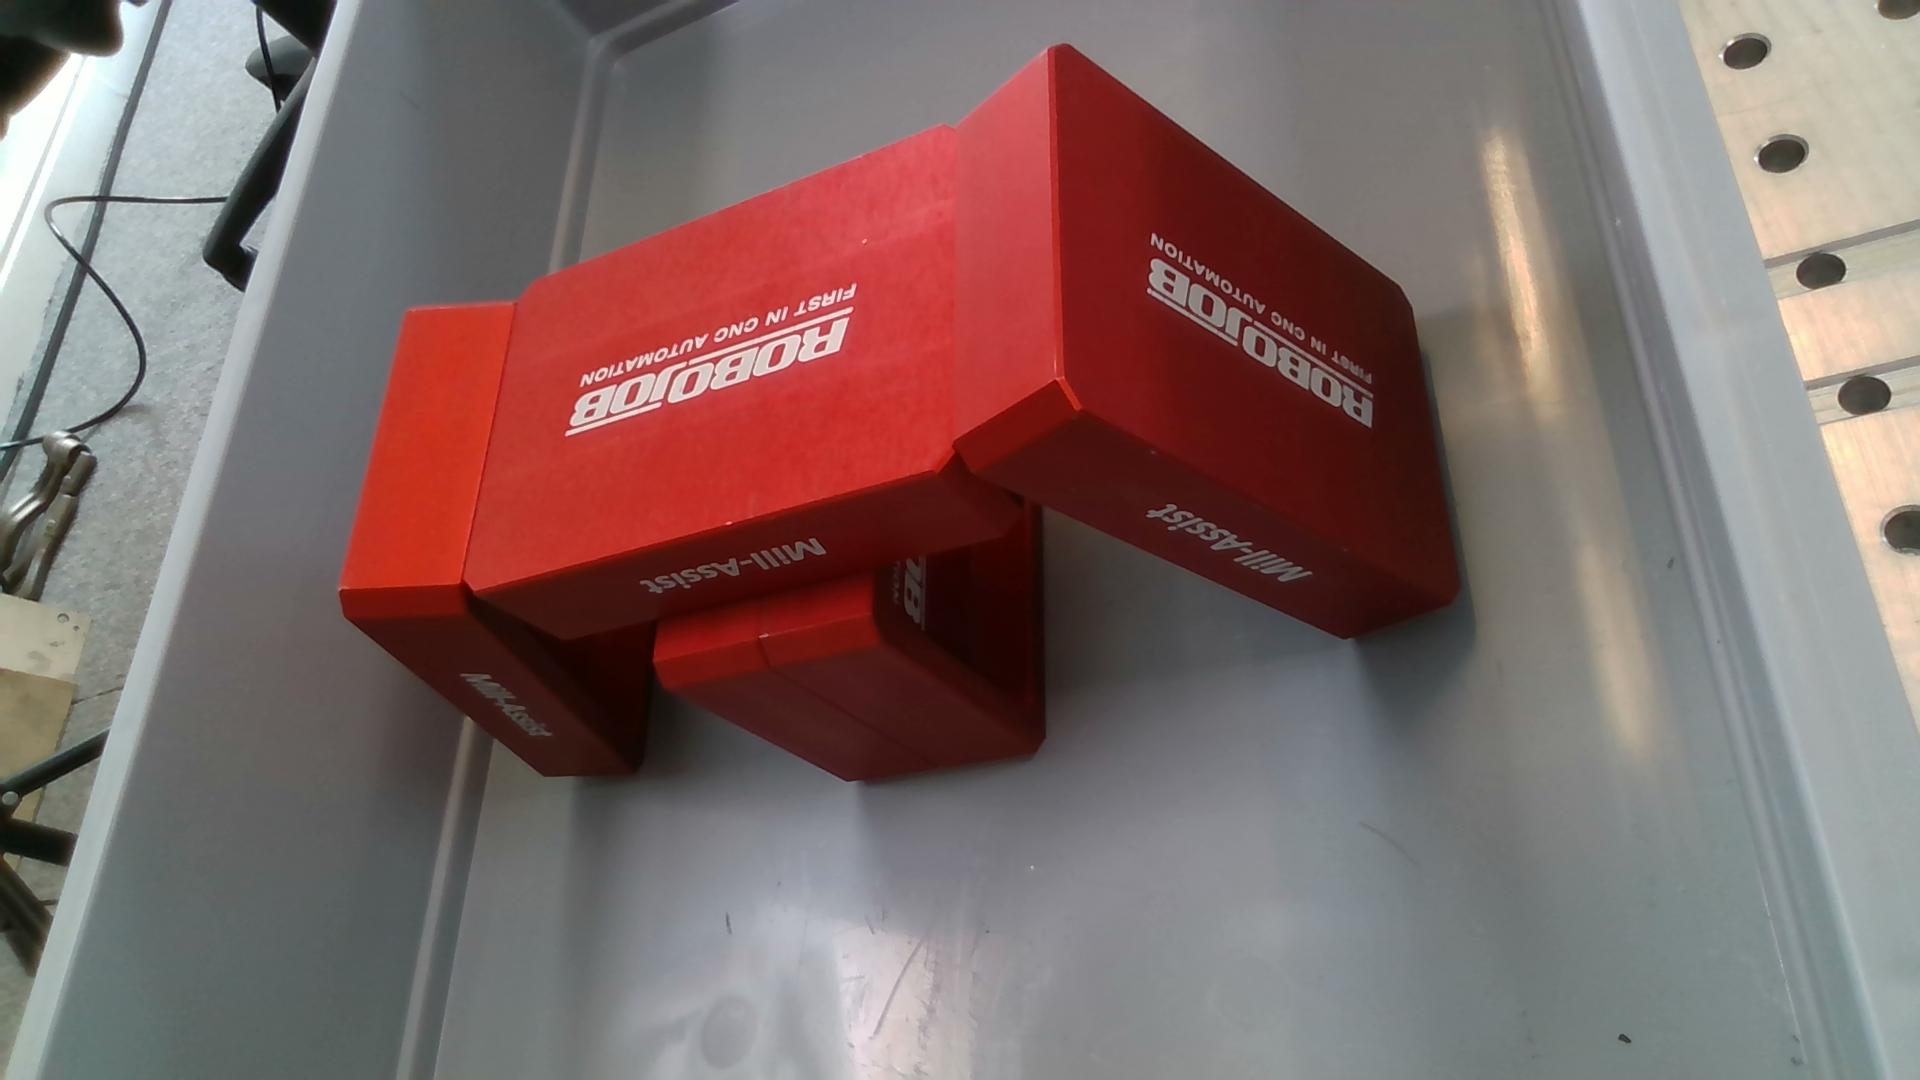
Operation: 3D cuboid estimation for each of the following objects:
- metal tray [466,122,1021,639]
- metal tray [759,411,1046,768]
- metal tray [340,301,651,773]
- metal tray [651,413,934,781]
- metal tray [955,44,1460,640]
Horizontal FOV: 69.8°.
[{"bbox_3d":[-0.051,-0.034,0.321,0.130,0.030,0.090,-14,60,25],"label":"metal tray"},{"bbox_3d":[-0.010,-0.015,0.365,0.030,0.090,0.130,-14,59,25],"label":"metal tray"},{"bbox_3d":[-0.123,0.005,0.395,0.030,0.130,0.090,-3,63,6],"label":"metal tray"},{"bbox_3d":[-0.038,-0.009,0.379,0.030,0.090,0.130,-14,59,25],"label":"metal tray"},{"bbox_3d":[0.058,-0.039,0.308,0.030,0.130,0.090,-27,51,42],"label":"metal tray"}]
